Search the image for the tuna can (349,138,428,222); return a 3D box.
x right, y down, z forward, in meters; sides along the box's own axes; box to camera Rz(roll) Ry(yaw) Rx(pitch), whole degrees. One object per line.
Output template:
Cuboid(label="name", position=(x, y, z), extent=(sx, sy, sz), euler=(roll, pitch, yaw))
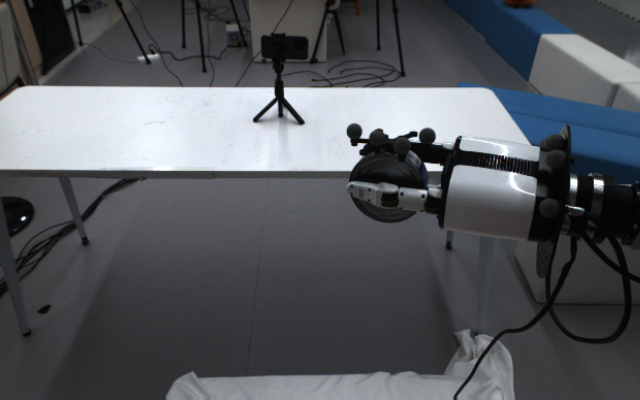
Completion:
Cuboid(label="tuna can", position=(0.080, -0.023, 0.549), extent=(0.085, 0.085, 0.034), euler=(13, 29, 16))
